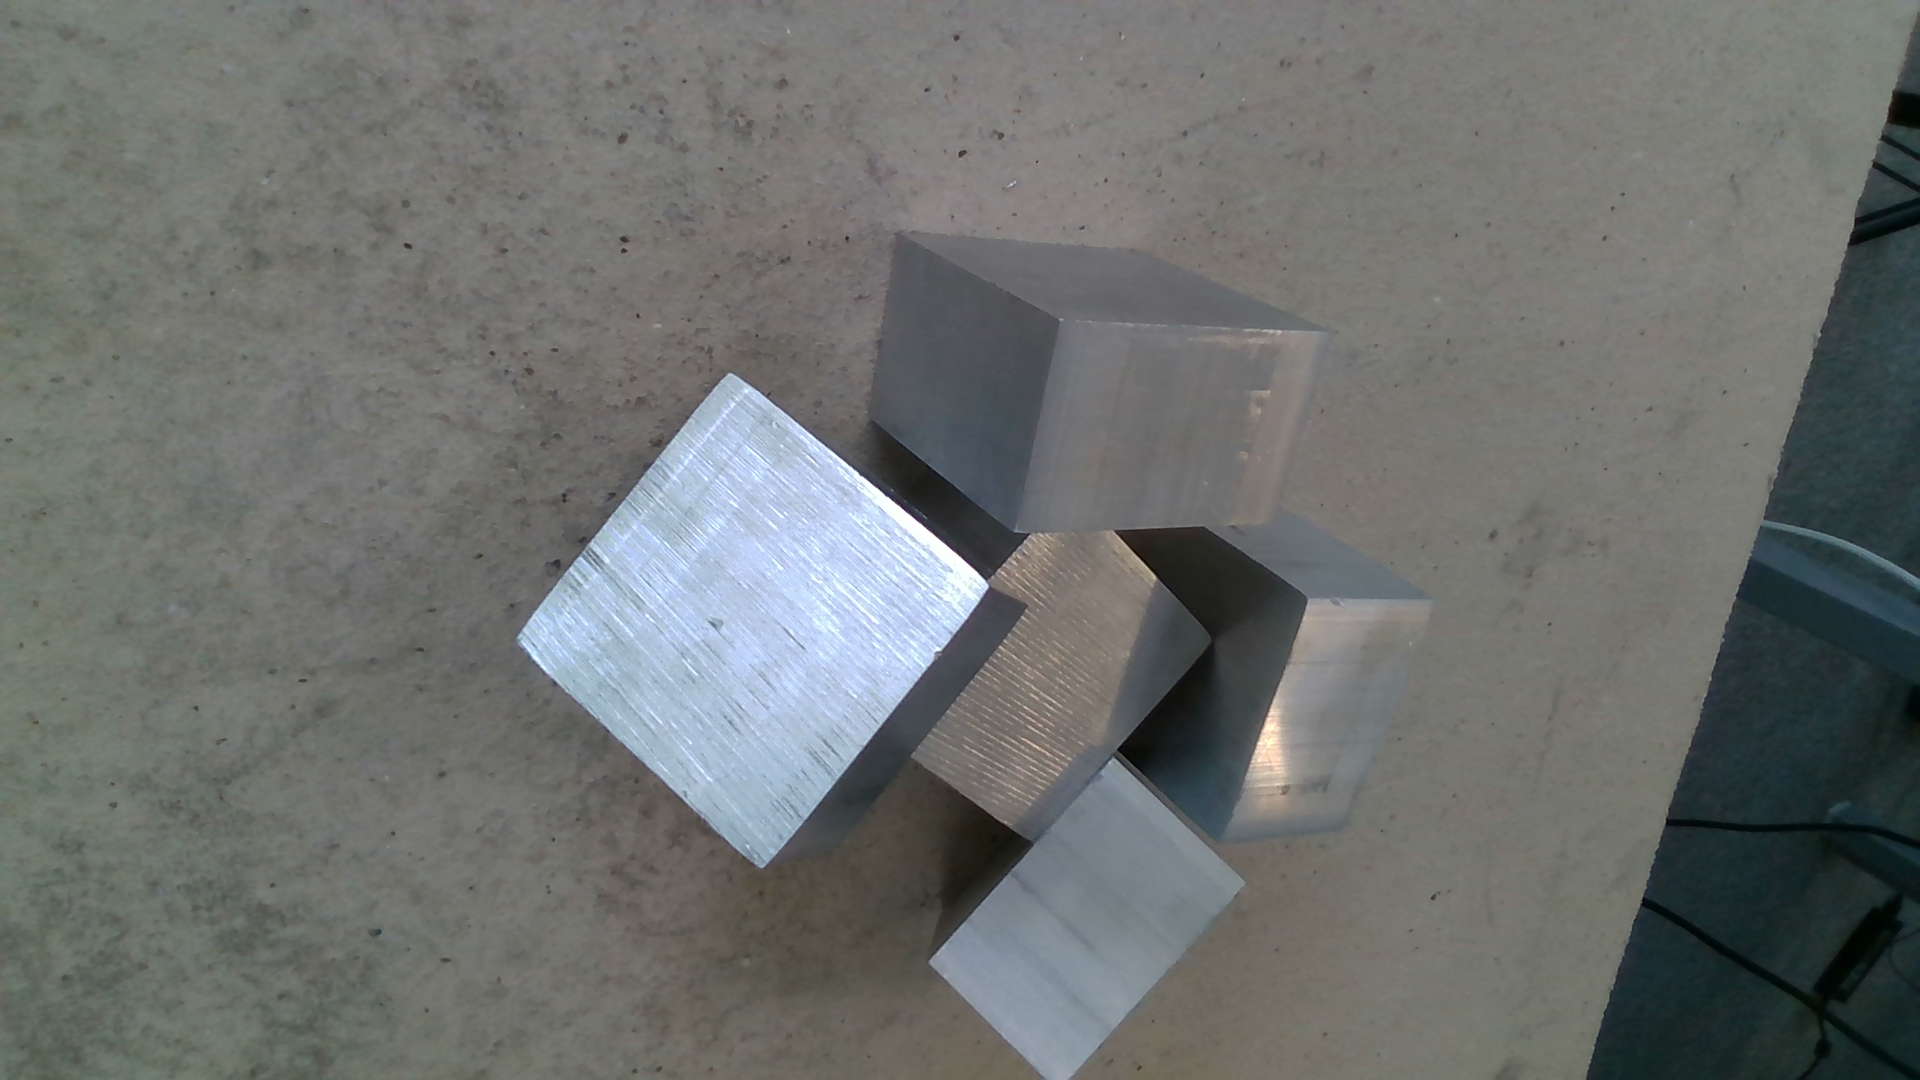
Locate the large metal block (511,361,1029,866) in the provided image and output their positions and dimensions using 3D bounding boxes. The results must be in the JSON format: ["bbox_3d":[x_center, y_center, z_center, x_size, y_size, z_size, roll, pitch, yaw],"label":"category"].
[{"bbox_3d":[-0.043,0.018,0.330,0.080,0.080,0.050,-51,166,2],"label":"large metal block"}]

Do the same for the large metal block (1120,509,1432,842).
[{"bbox_3d":[0.086,0.035,0.427,0.050,0.080,0.080,1,114,-32],"label":"large metal block"}]

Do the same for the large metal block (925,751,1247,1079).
[{"bbox_3d":[0.037,0.110,0.429,0.050,0.080,0.080,43,88,5],"label":"large metal block"}]

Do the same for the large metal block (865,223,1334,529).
[{"bbox_3d":[0.032,-0.043,0.352,0.080,0.080,0.050,-2,116,-30],"label":"large metal block"}]

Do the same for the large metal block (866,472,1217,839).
[{"bbox_3d":[0.013,0.026,0.394,0.080,0.050,0.080,-48,129,1],"label":"large metal block"}]
